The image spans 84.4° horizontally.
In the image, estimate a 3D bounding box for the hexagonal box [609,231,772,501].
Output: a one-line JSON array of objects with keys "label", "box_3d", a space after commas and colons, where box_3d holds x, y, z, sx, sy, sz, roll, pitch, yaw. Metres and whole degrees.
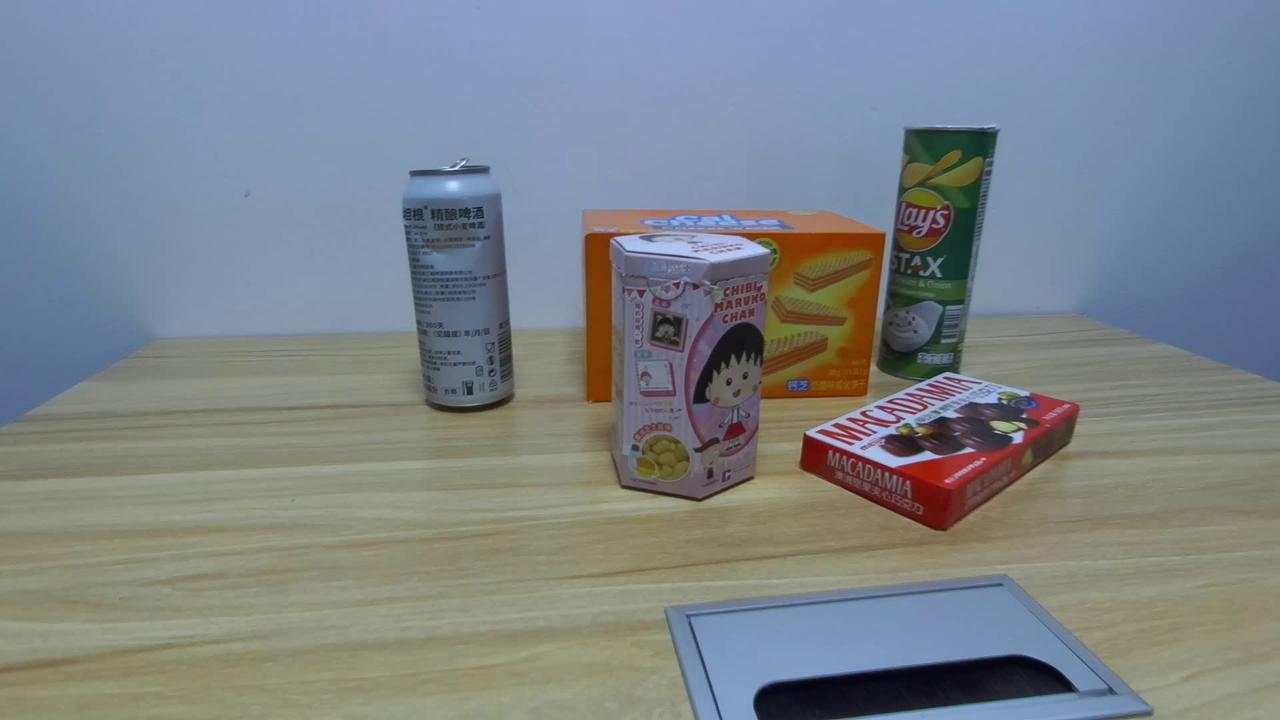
[{"label": "hexagonal box", "box_3d": [0.027, 0.001, 0.404, 0.091, 0.136, 0.083, -15, 24, -39]}]

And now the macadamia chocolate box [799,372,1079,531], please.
[{"label": "macadamia chocolate box", "box_3d": [0.193, 0.049, 0.447, 0.179, 0.027, 0.095, -14, 23, -39]}]

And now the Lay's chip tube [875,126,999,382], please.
[{"label": "Lay's chip tube", "box_3d": [0.242, -0.087, 0.579, 0.071, 0.202, 0.071, 1, 18, 0]}]

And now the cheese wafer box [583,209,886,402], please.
[{"label": "cheese wafer box", "box_3d": [0.067, -0.053, 0.588, 0.222, 0.129, 0.148, 0, 18, -4]}]

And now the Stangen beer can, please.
[{"label": "Stangen beer can", "box_3d": [-0.130, -0.052, 0.506, 0.070, 0.173, 0.069, -7, 17, -22]}]
